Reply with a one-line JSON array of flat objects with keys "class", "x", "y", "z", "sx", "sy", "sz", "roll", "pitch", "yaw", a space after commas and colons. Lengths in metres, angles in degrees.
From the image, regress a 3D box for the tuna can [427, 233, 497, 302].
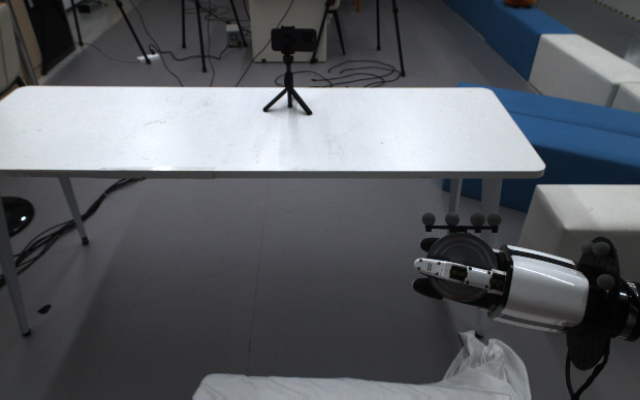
[{"class": "tuna can", "x": 0.178, "y": 0.081, "z": 0.609, "sx": 0.085, "sy": 0.085, "sz": 0.034, "roll": 16, "pitch": 1, "yaw": 19}]
